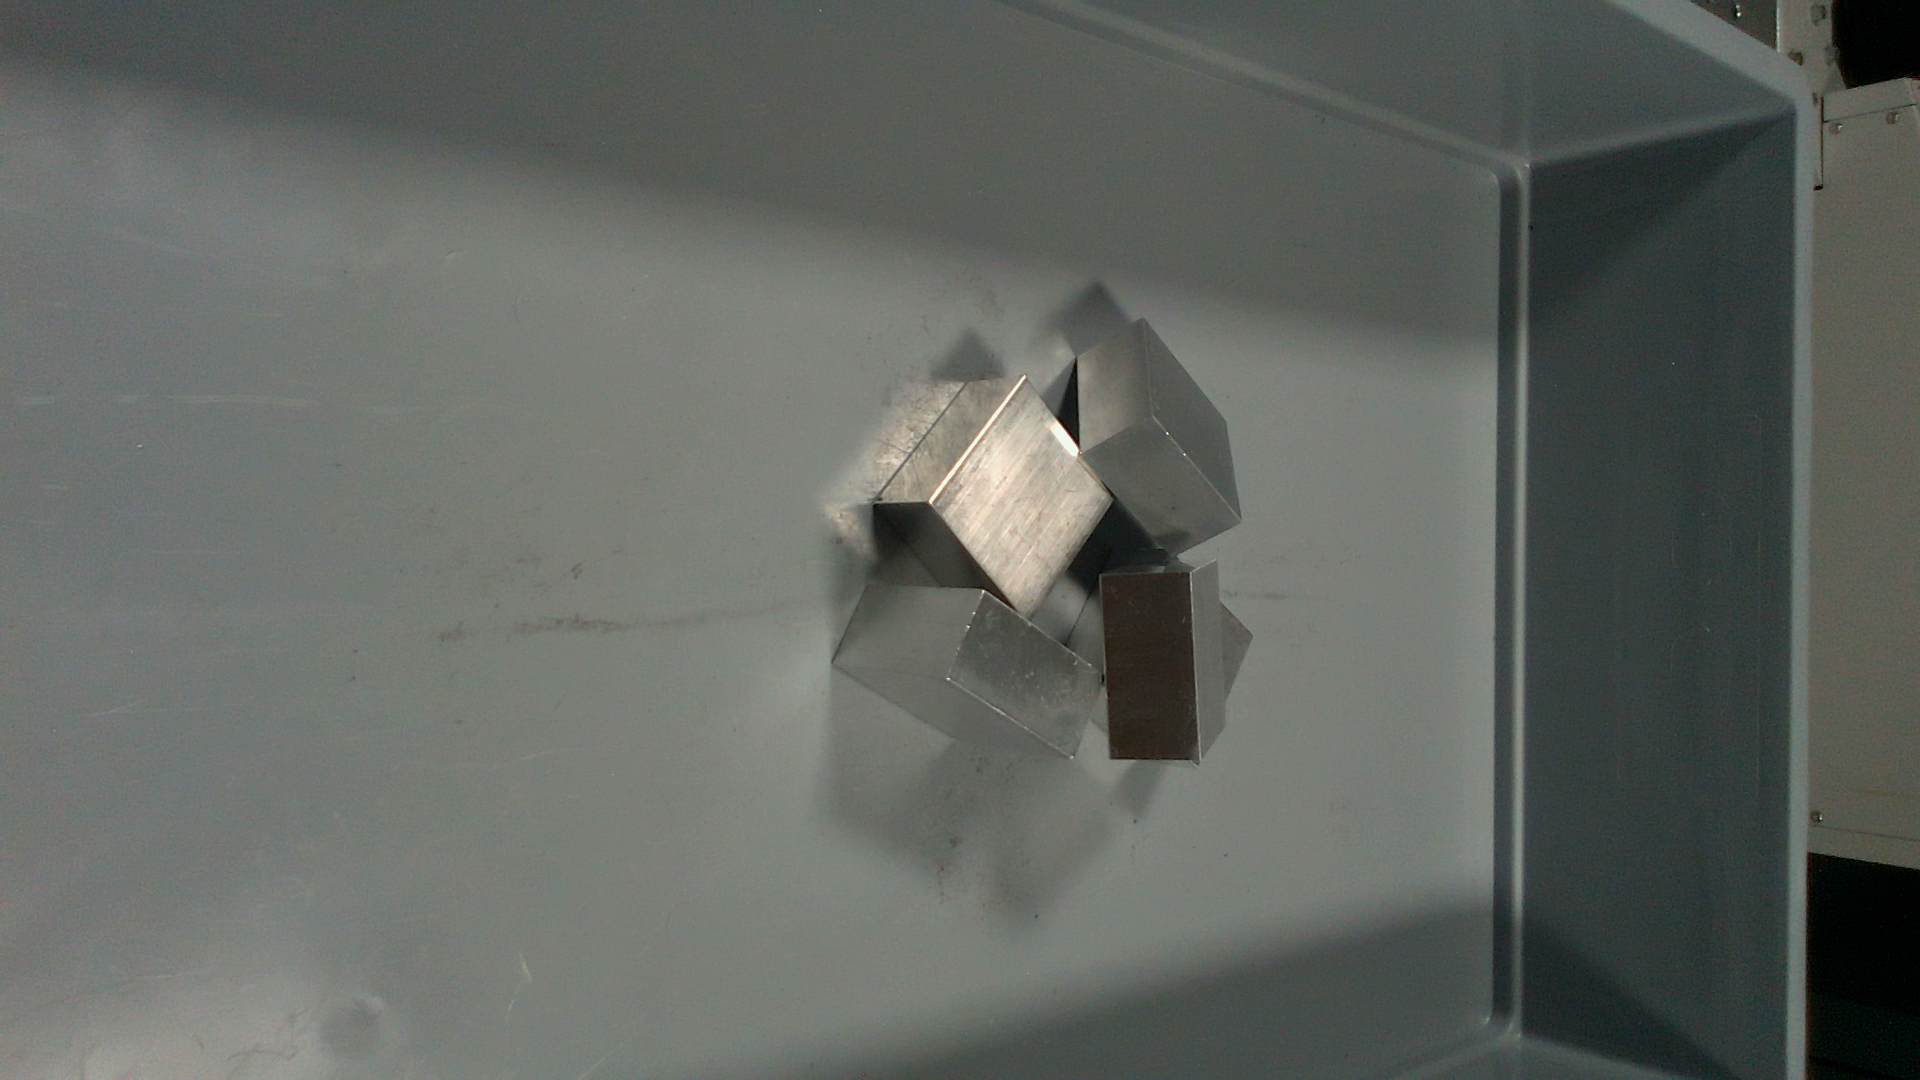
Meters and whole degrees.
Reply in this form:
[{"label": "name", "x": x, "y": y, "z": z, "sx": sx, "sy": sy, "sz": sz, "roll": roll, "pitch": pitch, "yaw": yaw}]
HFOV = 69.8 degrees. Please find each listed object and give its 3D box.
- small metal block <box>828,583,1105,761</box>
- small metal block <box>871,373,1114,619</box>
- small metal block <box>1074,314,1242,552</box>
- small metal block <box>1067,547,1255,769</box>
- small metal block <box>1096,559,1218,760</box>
[{"label": "small metal block", "x": 0.002, "y": 0.035, "z": 0.372, "sx": 0.050, "sy": 0.050, "sz": 0.025, "roll": 36, "pitch": 68, "yaw": -34}, {"label": "small metal block", "x": 0.011, "y": -0.011, "z": 0.395, "sx": 0.050, "sy": 0.025, "sz": 0.050, "roll": 51, "pitch": 60, "yaw": -28}, {"label": "small metal block", "x": 0.060, "y": -0.032, "z": 0.423, "sx": 0.050, "sy": 0.025, "sz": 0.050, "roll": 44, "pitch": 31, "yaw": -31}, {"label": "small metal block", "x": 0.062, "y": 0.037, "z": 0.438, "sx": 0.050, "sy": 0.025, "sz": 0.050, "roll": 42, "pitch": 64, "yaw": -32}, {"label": "small metal block", "x": 0.057, "y": 0.032, "z": 0.388, "sx": 0.050, "sy": 0.025, "sz": 0.050, "roll": -10, "pitch": 97, "yaw": -72}]
